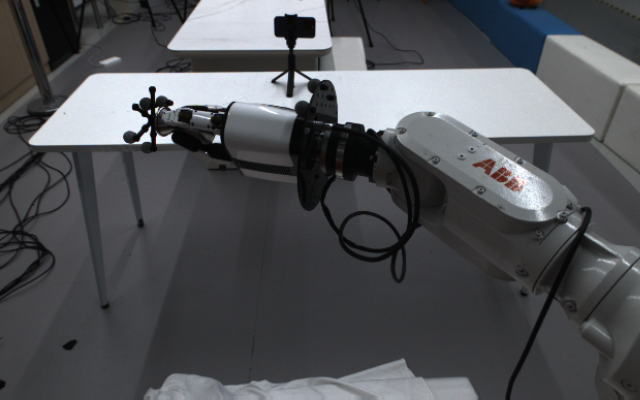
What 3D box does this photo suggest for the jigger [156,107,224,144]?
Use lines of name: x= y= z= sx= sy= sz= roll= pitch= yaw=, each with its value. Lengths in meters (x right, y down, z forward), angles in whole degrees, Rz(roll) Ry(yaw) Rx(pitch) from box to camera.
jigger: x=-0.172 y=-0.103 z=0.639 sx=0.071 sy=0.043 sz=0.043 roll=11 pitch=36 yaw=16
